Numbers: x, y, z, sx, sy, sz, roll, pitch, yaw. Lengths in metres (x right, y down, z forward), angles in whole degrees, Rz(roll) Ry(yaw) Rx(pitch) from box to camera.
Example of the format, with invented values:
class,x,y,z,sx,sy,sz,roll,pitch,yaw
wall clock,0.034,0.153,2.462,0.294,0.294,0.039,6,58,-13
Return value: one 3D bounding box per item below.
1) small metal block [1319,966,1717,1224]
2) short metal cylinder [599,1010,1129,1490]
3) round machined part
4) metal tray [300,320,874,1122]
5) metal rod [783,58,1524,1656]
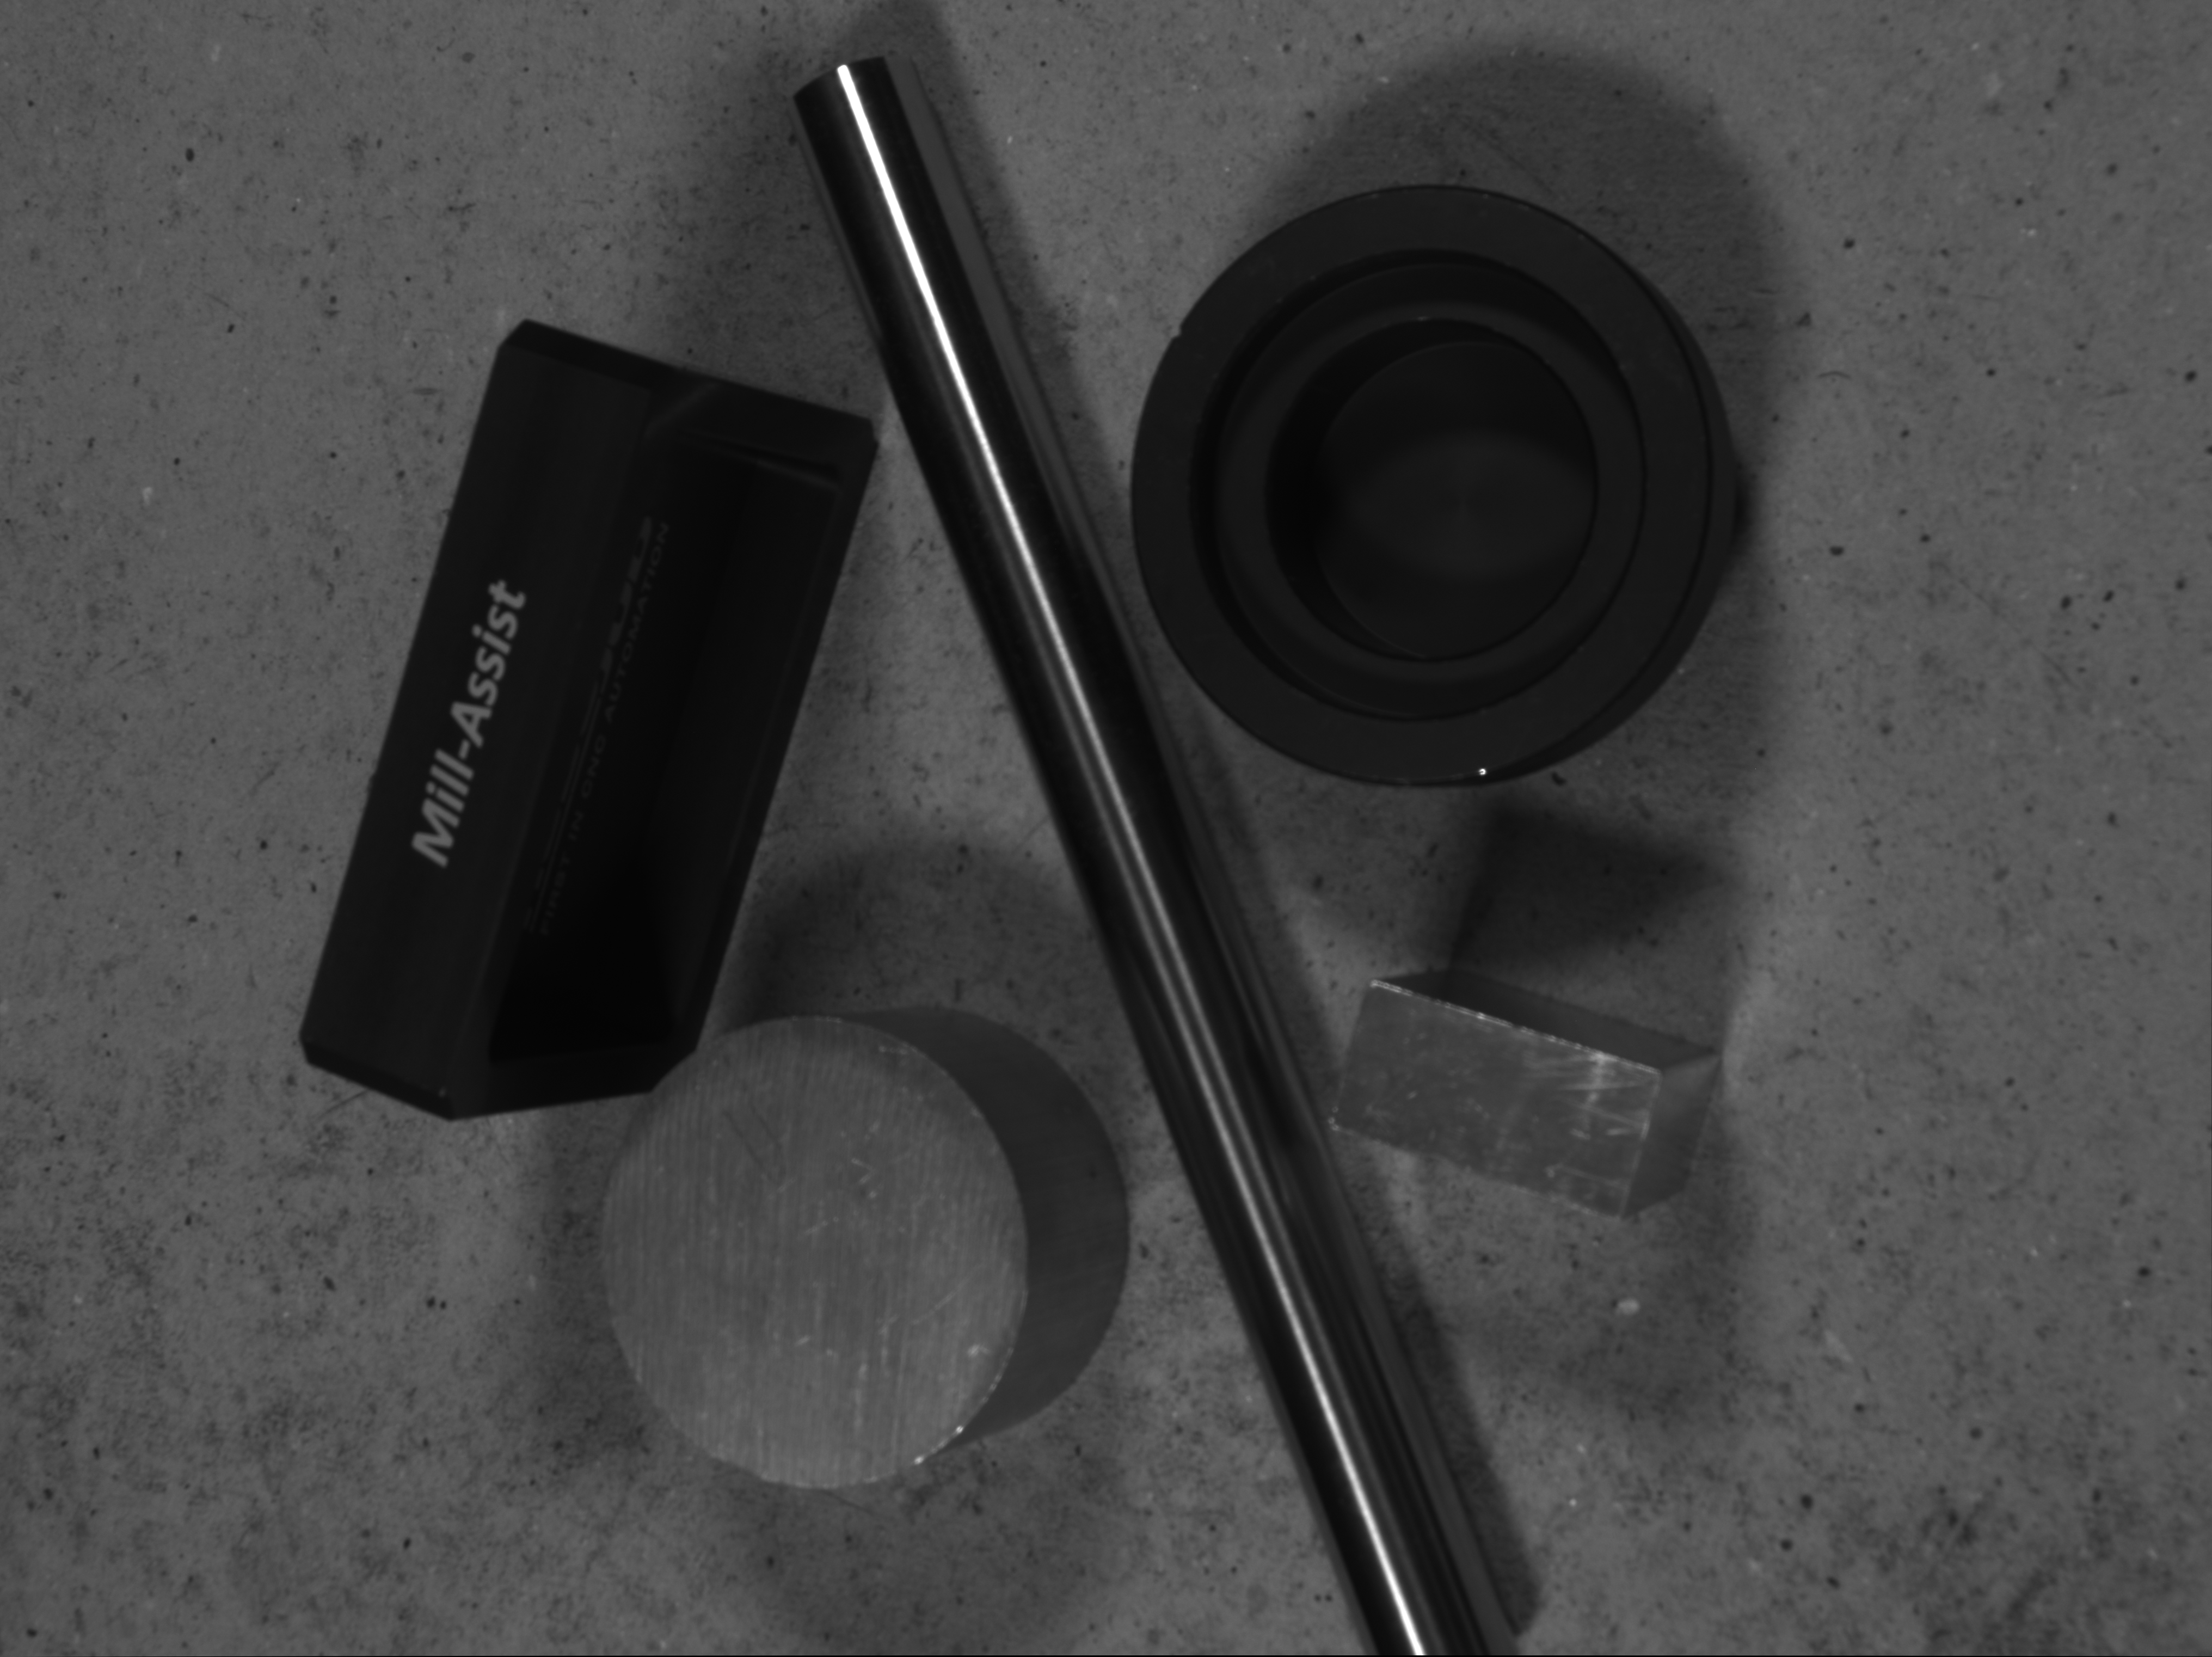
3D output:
class,x,y,z,sx,sy,sz,roll,pitch,yaw
small metal block,0.069,0.043,0.604,0.050,0.050,0.025,18,96,19
short metal cylinder,-0.042,0.072,0.646,0.080,0.050,0.080,0,90,20
round machined part,0.057,-0.056,0.615,0.098,0.042,0.098,0,90,20
metal tray,-0.089,-0.017,0.642,0.030,0.090,0.130,19,96,19
metal rod,0.006,0.006,0.643,0.025,0.025,0.300,-23,82,18
